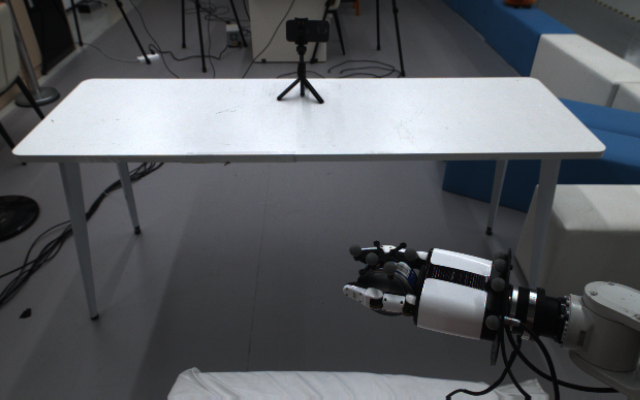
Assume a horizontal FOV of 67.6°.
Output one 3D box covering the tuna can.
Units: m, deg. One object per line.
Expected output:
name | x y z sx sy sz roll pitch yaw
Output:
tuna can | 0.100 0.123 0.695 0.085 0.085 0.034 15 34 18
